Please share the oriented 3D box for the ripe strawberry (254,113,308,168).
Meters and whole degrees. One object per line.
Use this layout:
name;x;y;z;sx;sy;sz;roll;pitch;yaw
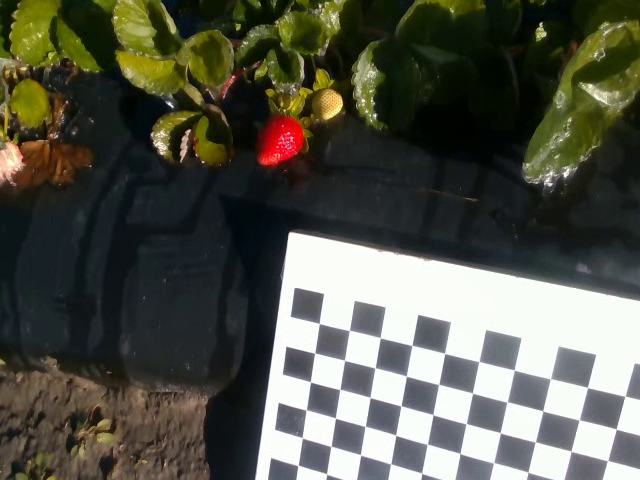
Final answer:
ripe strawberry;-0.027;-0.056;0.389;0.039;0.040;0.039;3;35;28
